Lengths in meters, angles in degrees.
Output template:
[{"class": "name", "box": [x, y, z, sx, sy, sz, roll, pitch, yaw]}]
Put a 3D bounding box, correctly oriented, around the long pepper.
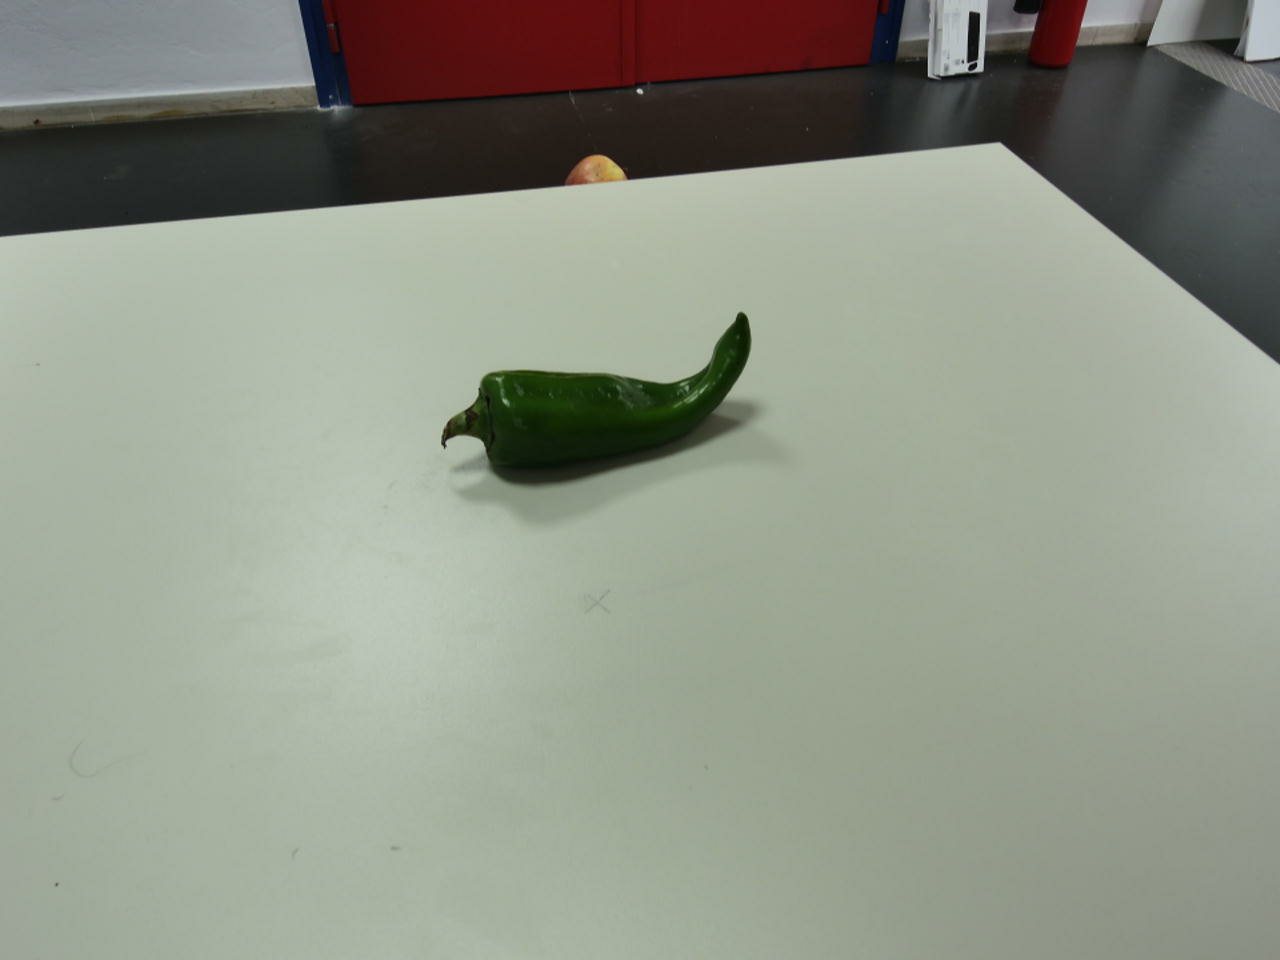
[{"class": "long pepper", "box": [-0.020, -0.046, 0.536, 0.175, 0.065, 0.058, -9, 40, -11]}]
